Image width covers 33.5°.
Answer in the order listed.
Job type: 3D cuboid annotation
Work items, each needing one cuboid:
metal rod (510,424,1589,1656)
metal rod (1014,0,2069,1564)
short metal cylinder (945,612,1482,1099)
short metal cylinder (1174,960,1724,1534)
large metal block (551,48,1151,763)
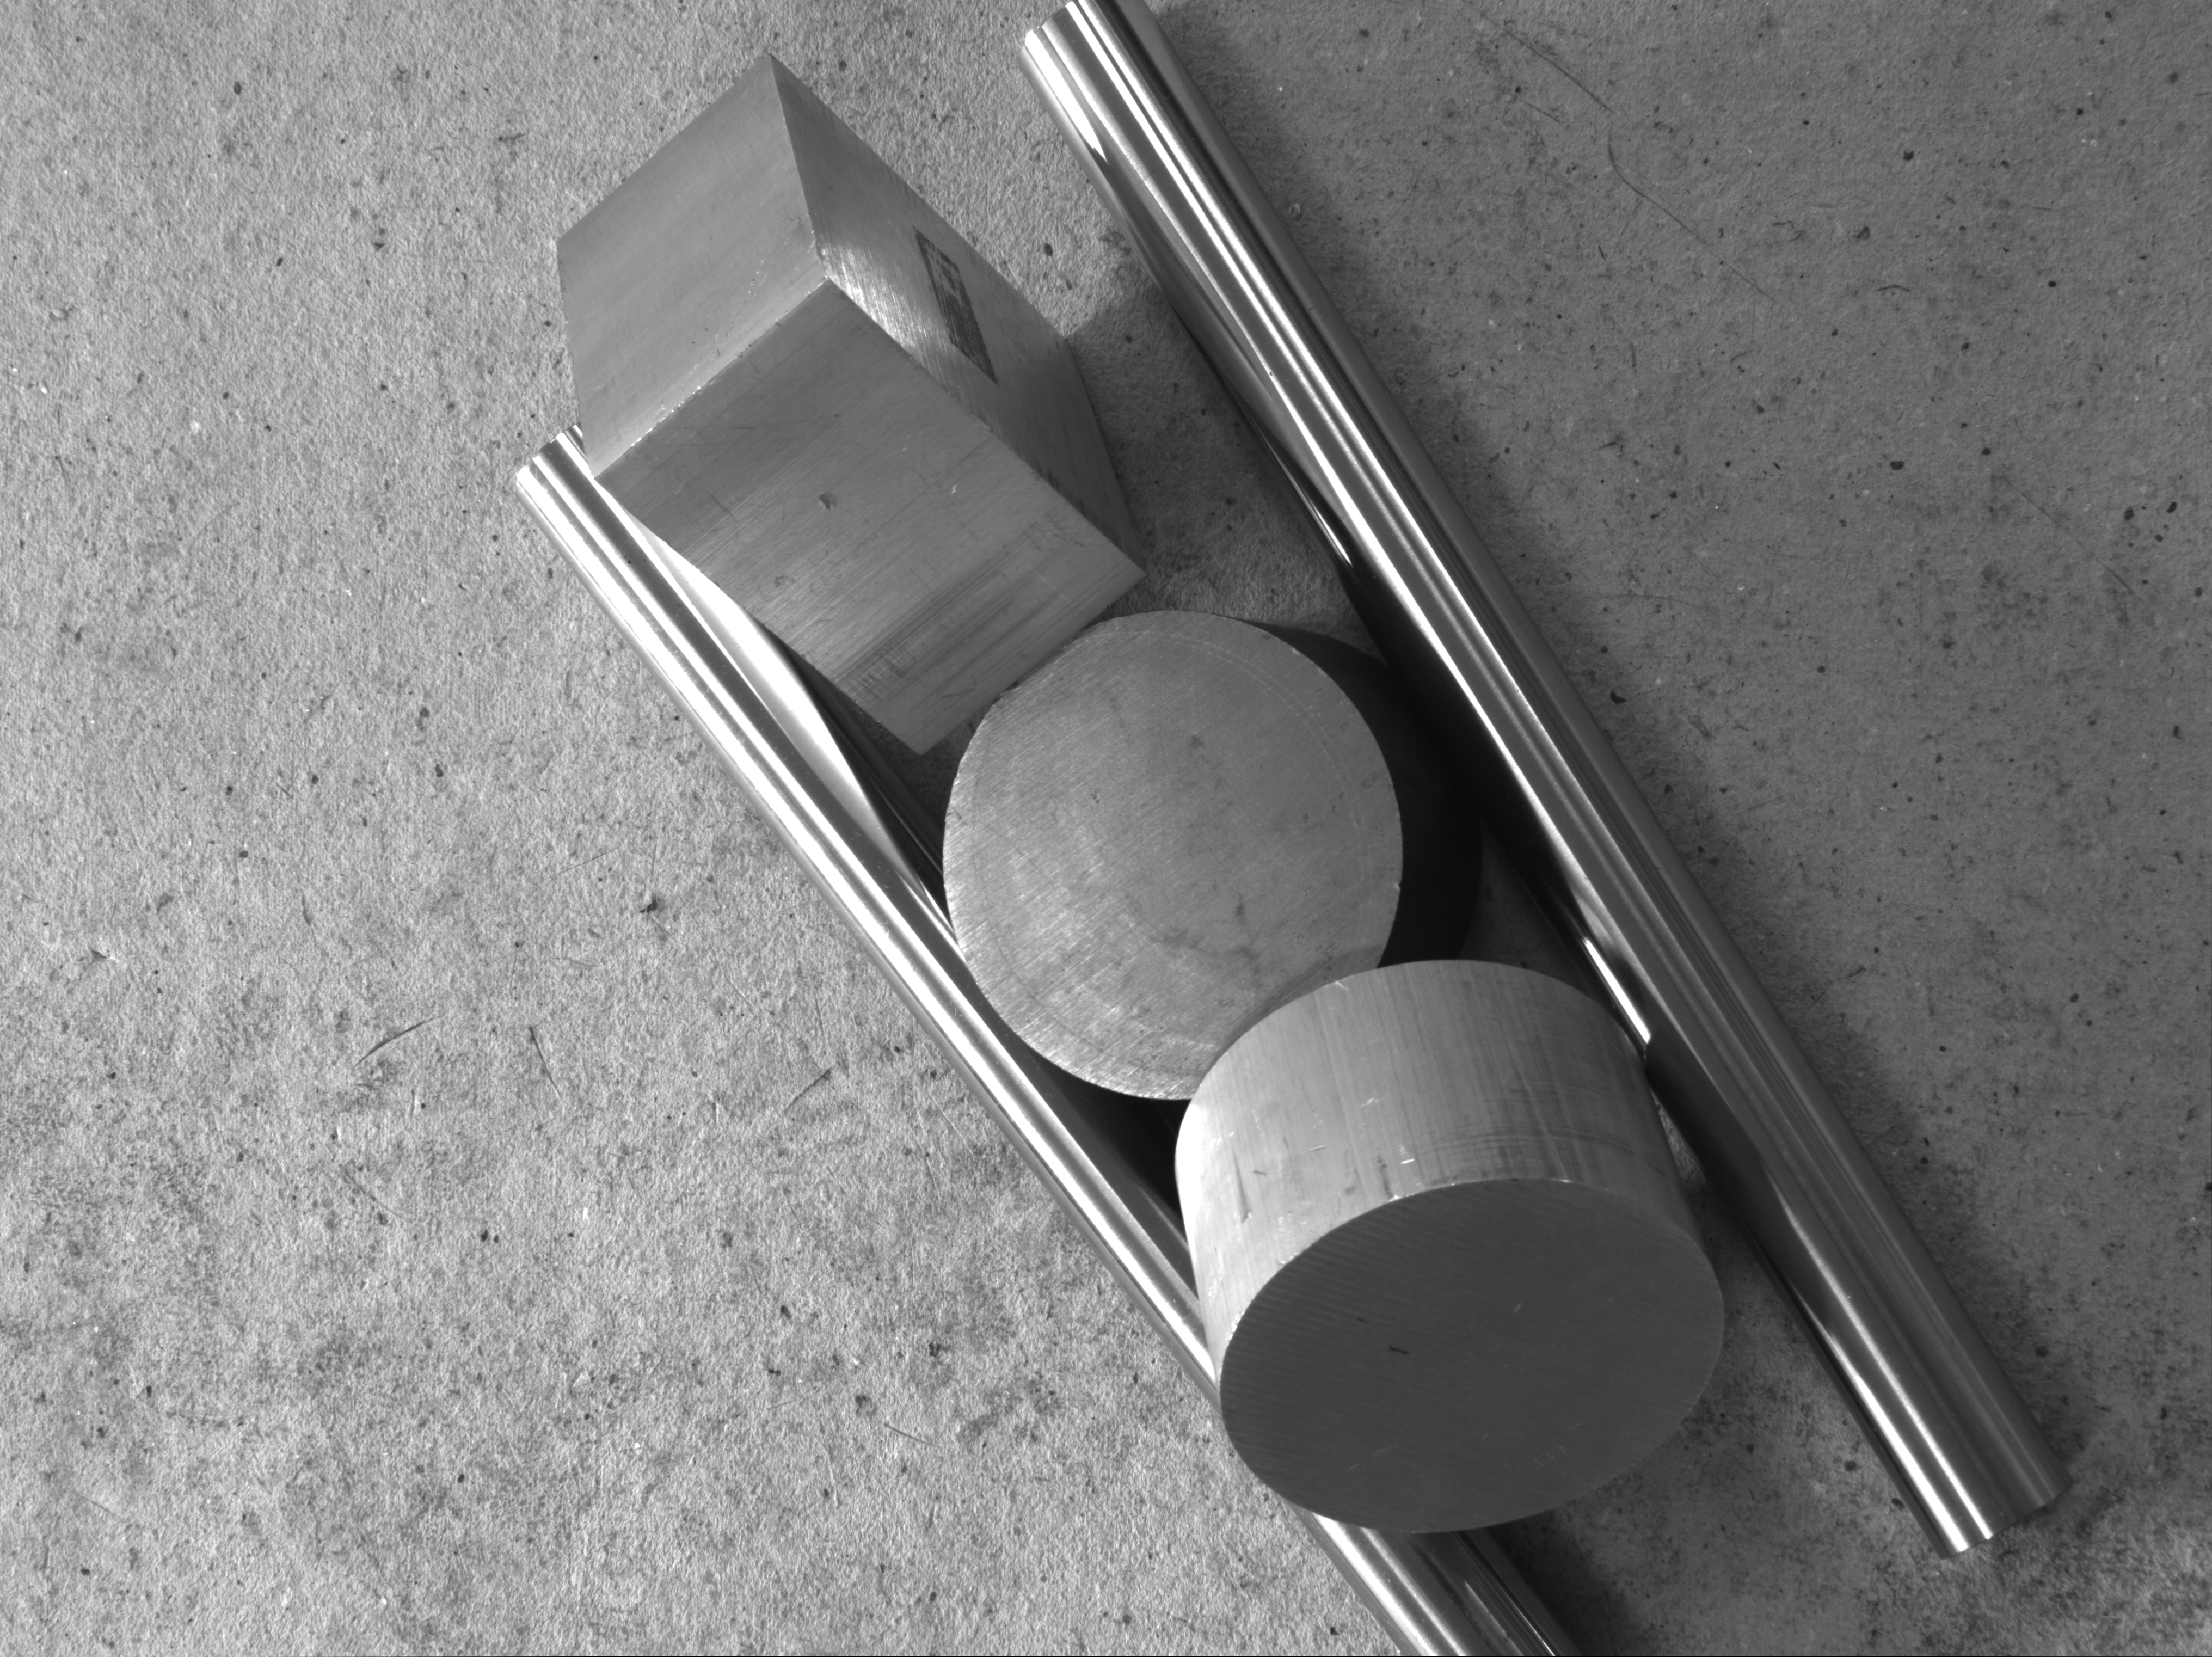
[{"bbox_3d":[-0.009,0.046,0.650,0.025,0.025,0.300,-42,77,15],"label":"metal rod"},{"bbox_3d":[0.070,-0.014,0.621,0.025,0.025,0.300,-34,79,17],"label":"metal rod"},{"bbox_3d":[0.019,0.005,0.627,0.080,0.050,0.080,0,90,20],"label":"short metal cylinder"},{"bbox_3d":[0.054,0.068,0.591,0.080,0.080,0.050,-33,37,17],"label":"short metal cylinder"},{"bbox_3d":[-0.044,-0.071,0.617,0.050,0.080,0.080,-38,36,16],"label":"large metal block"}]
